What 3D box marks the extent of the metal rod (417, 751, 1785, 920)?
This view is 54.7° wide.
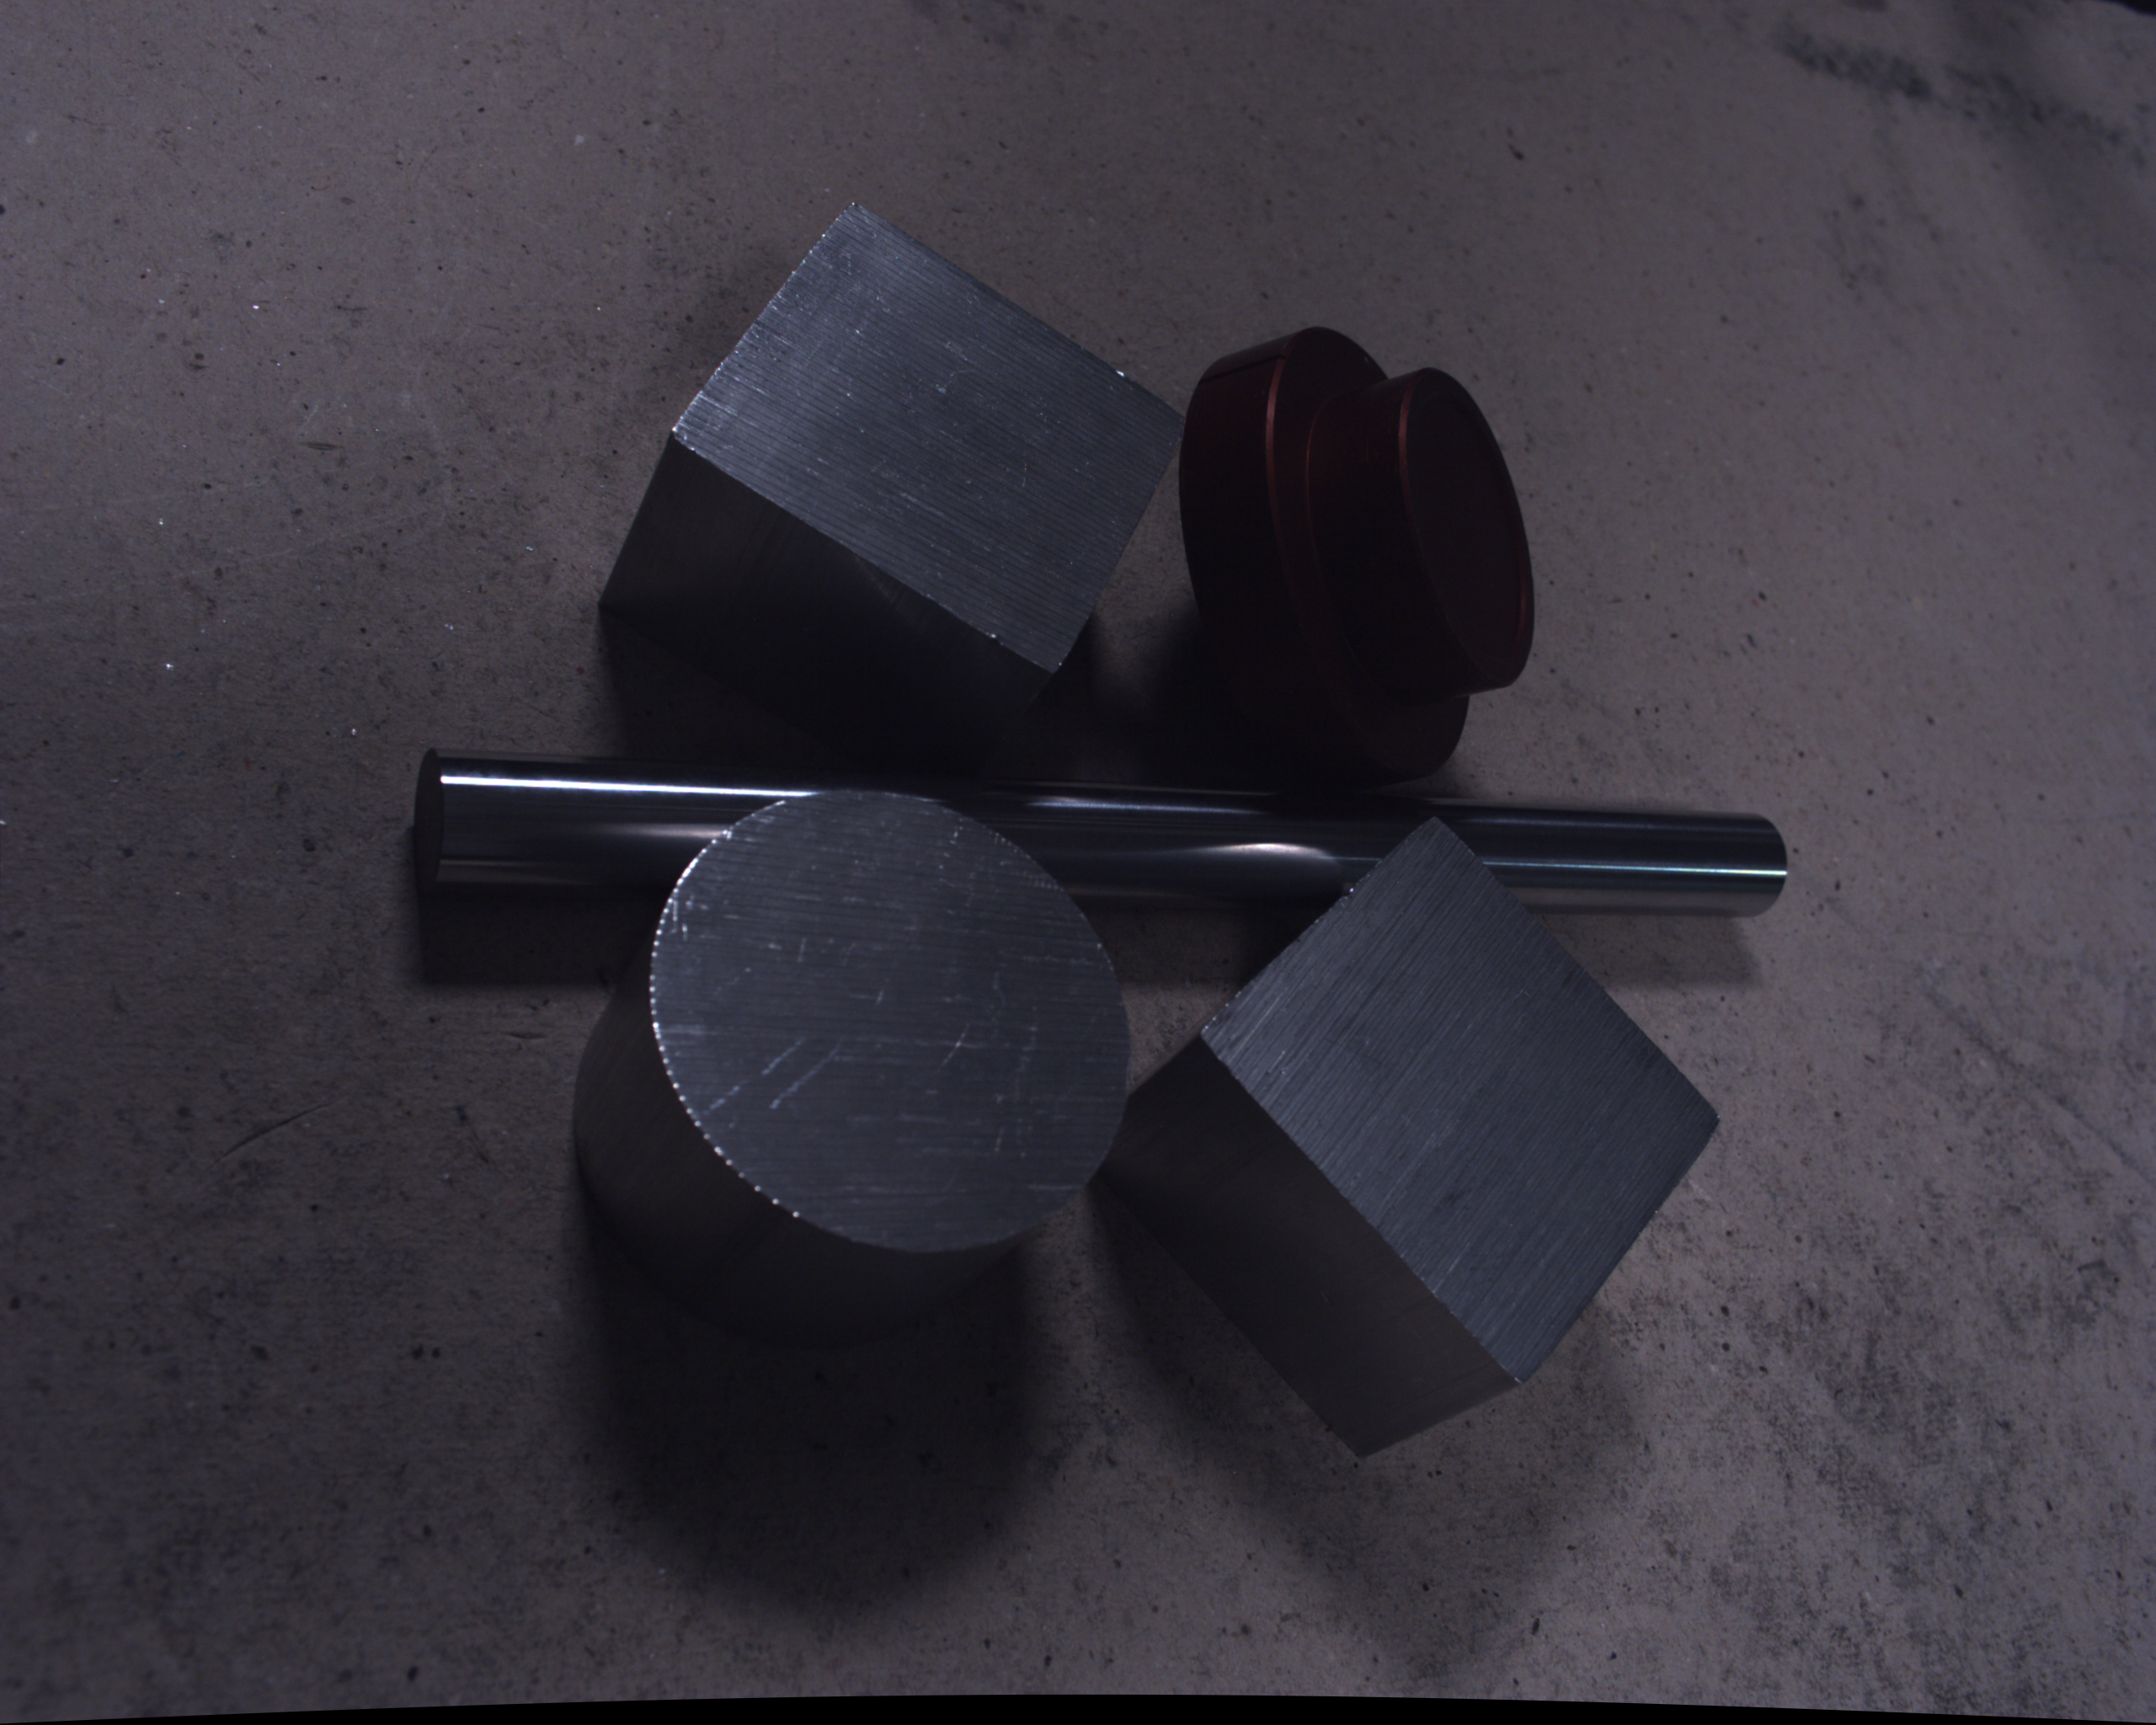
[{"bbox_3d":[0.024,-0.003,0.423,0.303,0.025,0.025,2,61,-28],"label":"metal rod"}]

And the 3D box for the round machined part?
[{"bbox_3d":[0.064,-0.066,0.441,0.098,0.042,0.098,25,59,-50],"label":"round machined part"}]

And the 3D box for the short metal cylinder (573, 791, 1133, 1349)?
[{"bbox_3d":[-0.038,0.035,0.348,0.081,0.050,0.080,14,56,-21],"label":"short metal cylinder"}]

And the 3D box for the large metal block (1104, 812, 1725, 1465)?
[{"bbox_3d":[0.061,0.051,0.393,0.080,0.050,0.080,48,51,5],"label":"large metal block"}]

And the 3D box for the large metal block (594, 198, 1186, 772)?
[{"bbox_3d":[-0.035,-0.071,0.412,0.080,0.050,0.080,32,51,-8],"label":"large metal block"}]
